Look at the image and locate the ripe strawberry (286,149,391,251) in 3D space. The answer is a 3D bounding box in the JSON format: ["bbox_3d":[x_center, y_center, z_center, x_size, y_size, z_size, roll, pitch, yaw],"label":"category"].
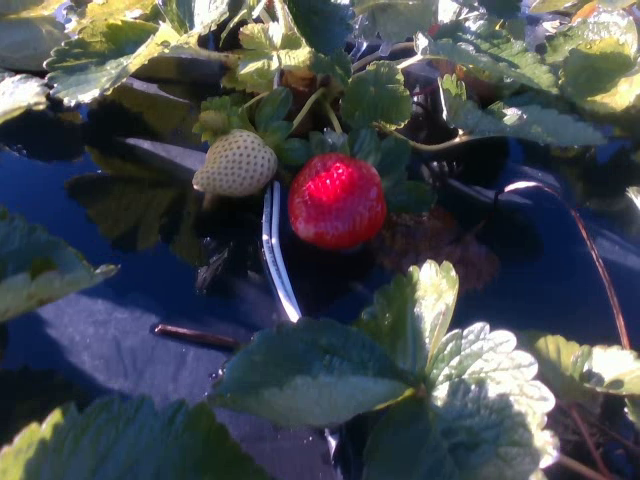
[{"bbox_3d":[0.011,-0.021,0.283,0.040,0.063,0.080,-37,3,33],"label":"ripe strawberry"}]
